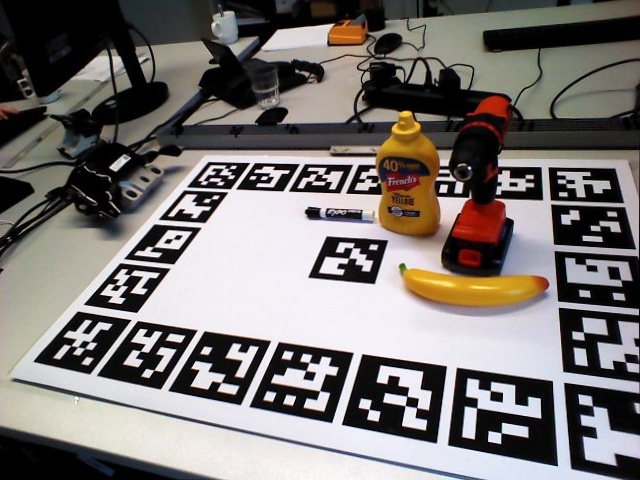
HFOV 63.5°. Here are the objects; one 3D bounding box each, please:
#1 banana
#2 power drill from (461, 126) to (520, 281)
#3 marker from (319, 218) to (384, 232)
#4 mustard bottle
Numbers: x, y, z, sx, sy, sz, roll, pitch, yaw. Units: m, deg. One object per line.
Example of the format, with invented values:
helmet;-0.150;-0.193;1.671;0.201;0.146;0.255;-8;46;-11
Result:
banana;0.209;0.090;0.693;0.198;0.039;0.073;10;44;28
power drill;0.231;-0.038;0.692;0.057;0.187;0.183;17;44;29
marker;0.054;-0.024;0.890;0.122;0.020;0.019;6;42;22
mustard bottle;0.156;-0.075;0.785;0.097;0.192;0.058;14;45;28
